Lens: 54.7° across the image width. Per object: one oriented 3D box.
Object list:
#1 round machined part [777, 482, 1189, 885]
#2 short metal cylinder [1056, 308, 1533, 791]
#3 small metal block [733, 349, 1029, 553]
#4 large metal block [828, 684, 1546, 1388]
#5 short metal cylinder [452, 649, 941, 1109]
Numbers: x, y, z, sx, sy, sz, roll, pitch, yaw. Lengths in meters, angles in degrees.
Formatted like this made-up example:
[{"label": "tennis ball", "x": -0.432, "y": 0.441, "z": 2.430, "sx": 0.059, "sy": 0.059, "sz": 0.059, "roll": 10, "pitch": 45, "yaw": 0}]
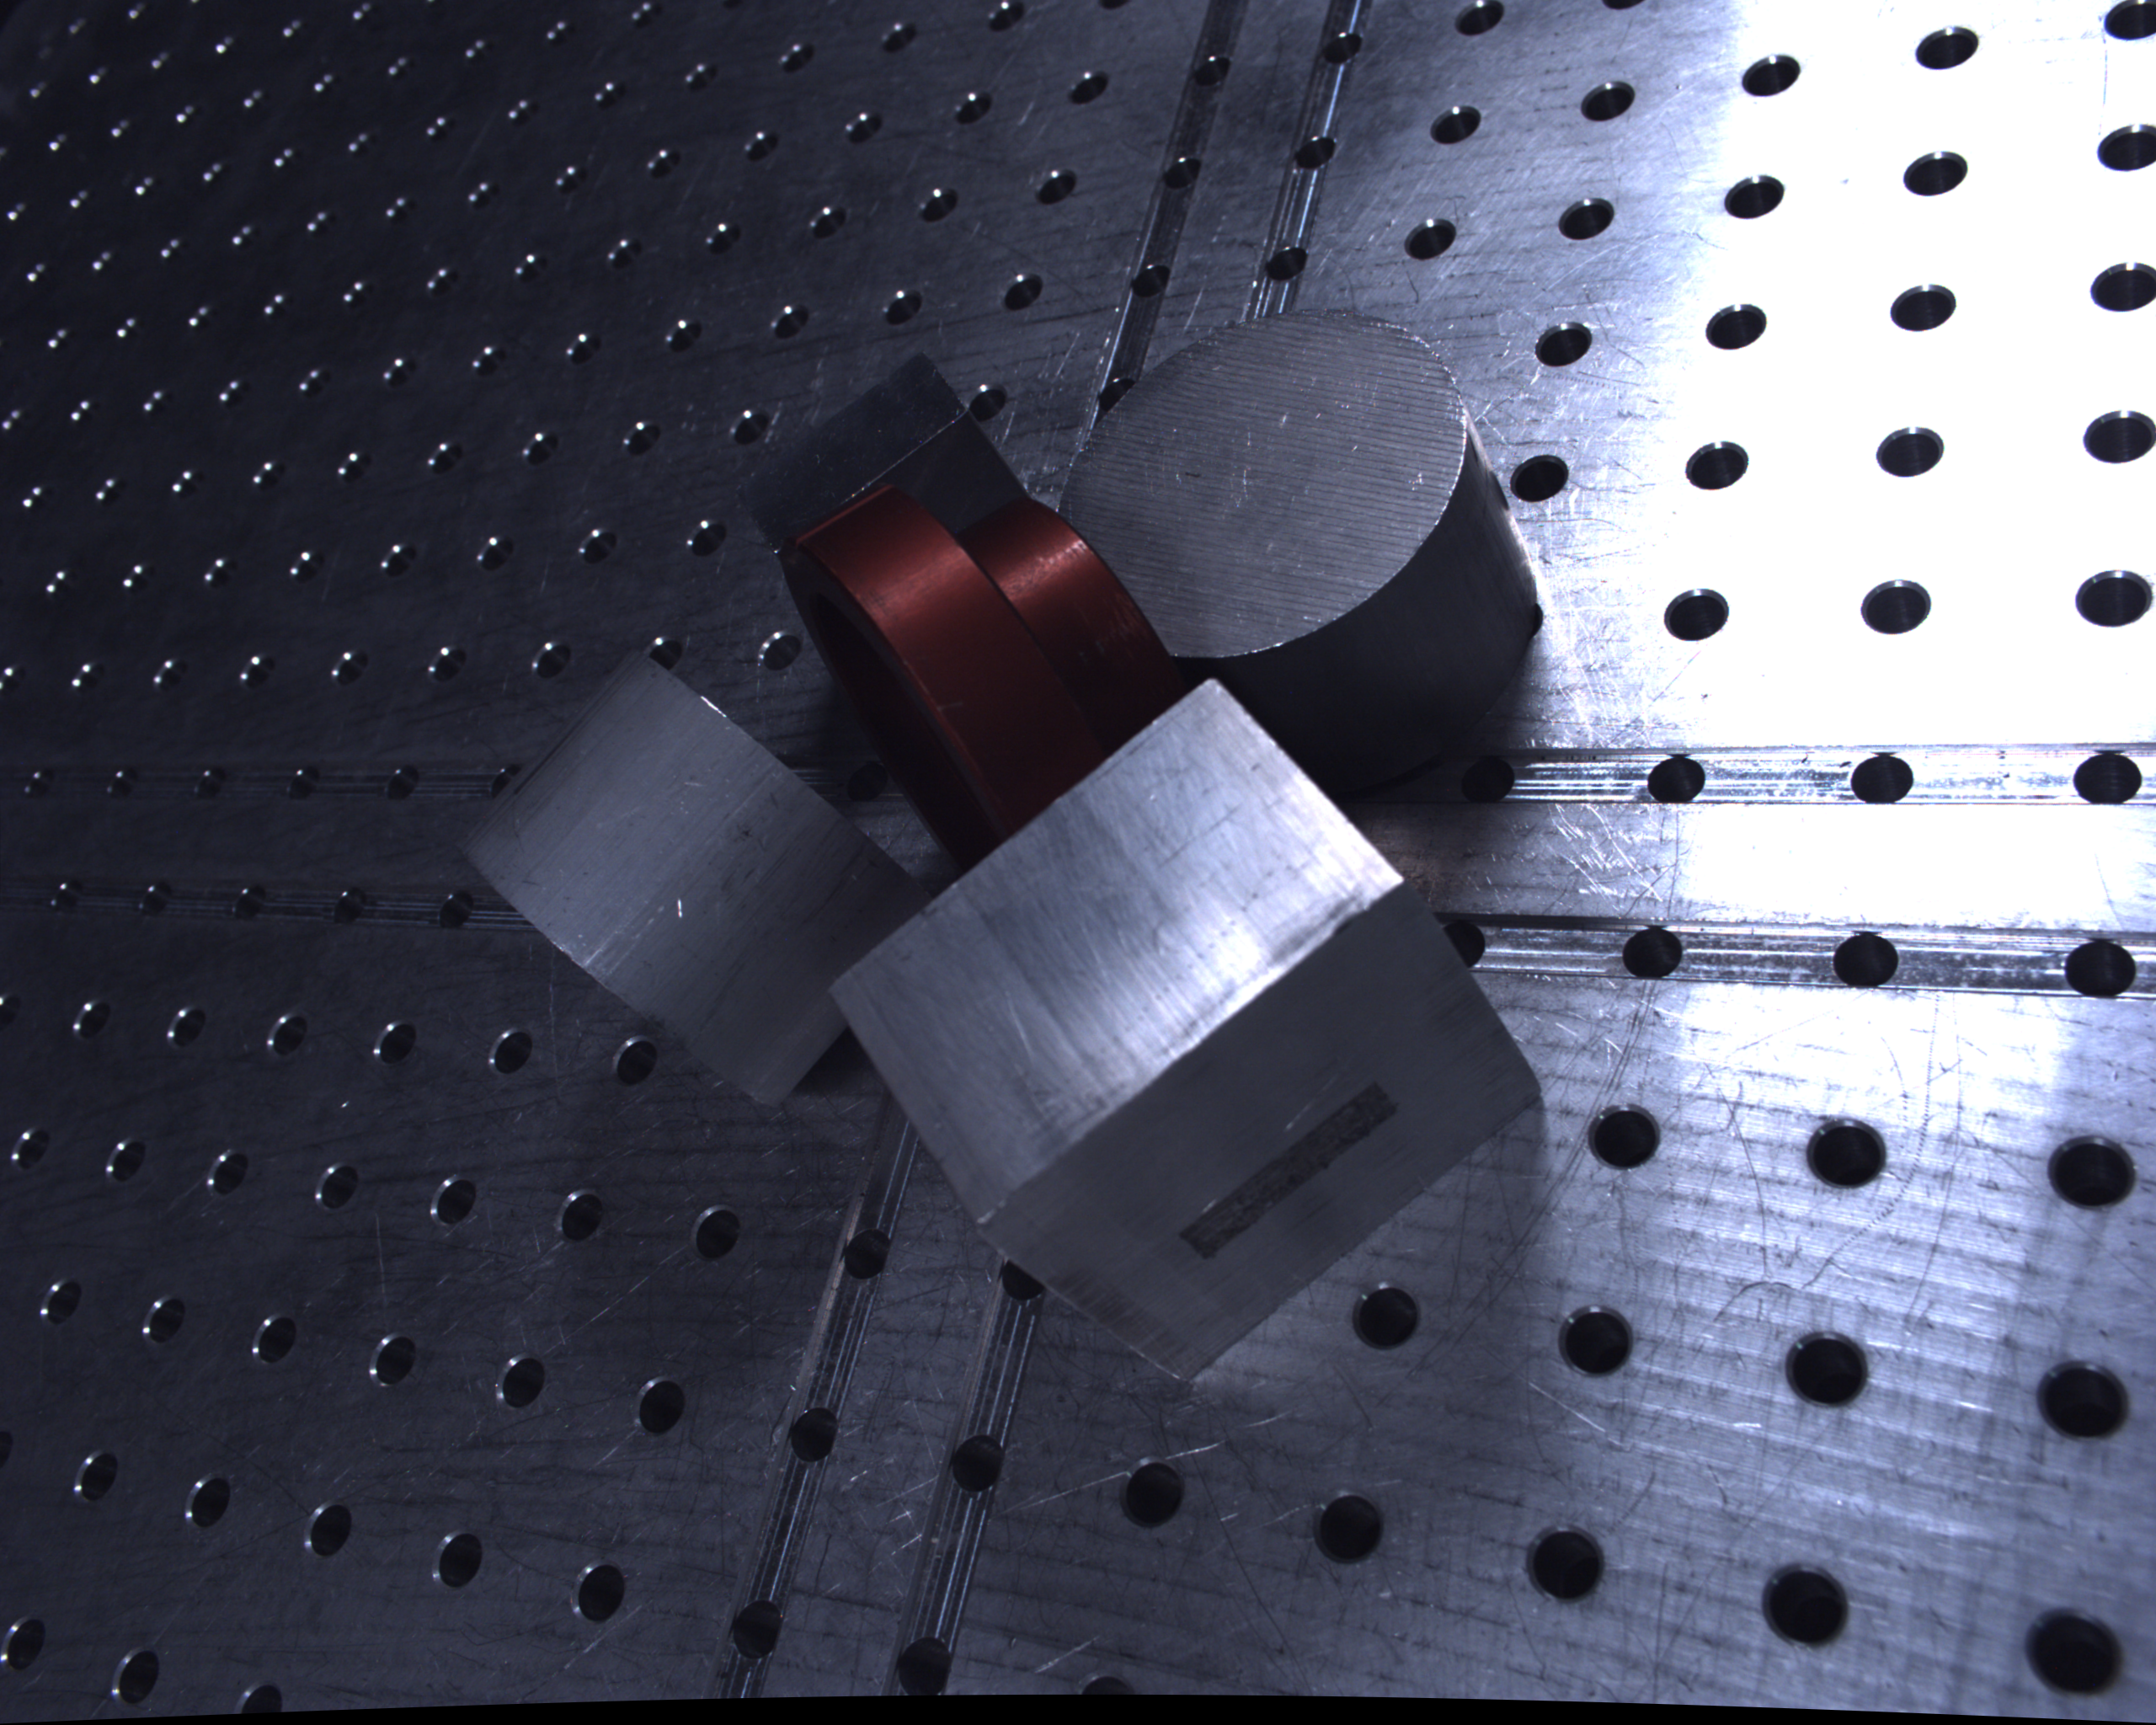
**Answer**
[{"label": "round machined part", "x": -0.011, "y": -0.028, "z": 0.384, "sx": 0.042, "sy": 0.098, "sz": 0.098, "roll": -34, "pitch": 51, "yaw": -10}, {"label": "short metal cylinder", "x": 0.043, "y": -0.060, "z": 0.405, "sx": 0.080, "sy": 0.050, "sz": 0.080, "roll": -13, "pitch": 56, "yaw": 20}, {"label": "small metal block", "x": -0.038, "y": -0.074, "z": 0.456, "sx": 0.050, "sy": 0.050, "sz": 0.025, "roll": -36, "pitch": 52, "yaw": 4}, {"label": "large metal block", "x": 0.021, "y": 0.031, "z": 0.343, "sx": 0.080, "sy": 0.080, "sz": 0.050, "roll": -40, "pitch": 51, "yaw": 1}, {"label": "short metal cylinder", "x": -0.073, "y": 0.003, "z": 0.407, "sx": 0.080, "sy": 0.080, "sz": 0.050, "roll": 35, "pitch": 82, "yaw": 38}]
